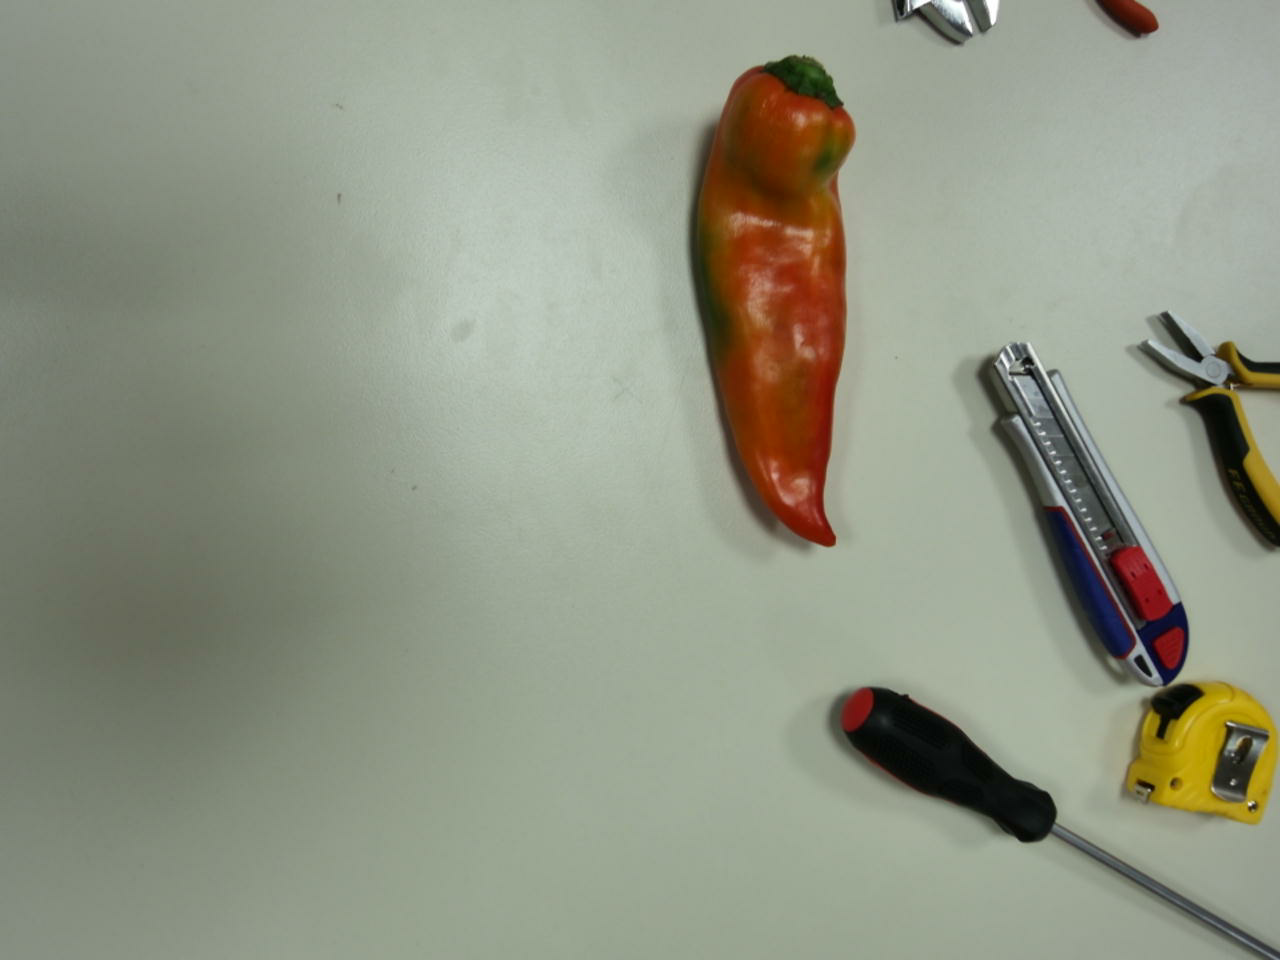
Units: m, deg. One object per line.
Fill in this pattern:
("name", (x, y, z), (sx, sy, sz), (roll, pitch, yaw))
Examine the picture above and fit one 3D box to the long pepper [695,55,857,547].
("long pepper", (0.064, -0.070, 0.415), (0.066, 0.065, 0.199), (-5, 92, -11))
